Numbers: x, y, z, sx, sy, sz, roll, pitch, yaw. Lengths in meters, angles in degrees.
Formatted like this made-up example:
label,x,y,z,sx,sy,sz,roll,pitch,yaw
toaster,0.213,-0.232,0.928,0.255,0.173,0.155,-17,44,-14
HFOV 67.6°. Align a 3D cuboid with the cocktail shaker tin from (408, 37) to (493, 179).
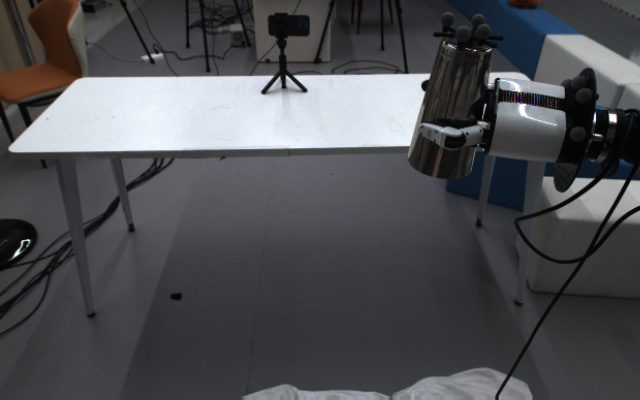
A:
label,x,y,z,sx,sy,sz,roll,pitch,yaw
cocktail shaker tin,0.179,-0.126,0.649,0.093,0.170,0.093,3,34,-2
